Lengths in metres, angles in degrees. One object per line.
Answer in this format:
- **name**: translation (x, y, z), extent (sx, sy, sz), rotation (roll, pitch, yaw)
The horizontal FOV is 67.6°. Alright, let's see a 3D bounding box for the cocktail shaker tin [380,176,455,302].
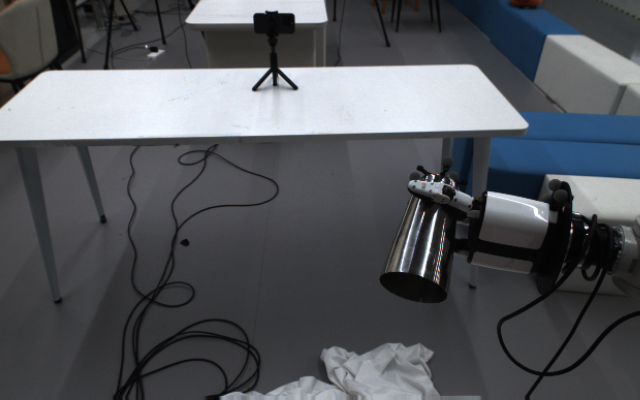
- **cocktail shaker tin**: translation (0.150, 0.045, 0.689), extent (0.093, 0.093, 0.170), rotation (13, 59, 16)
